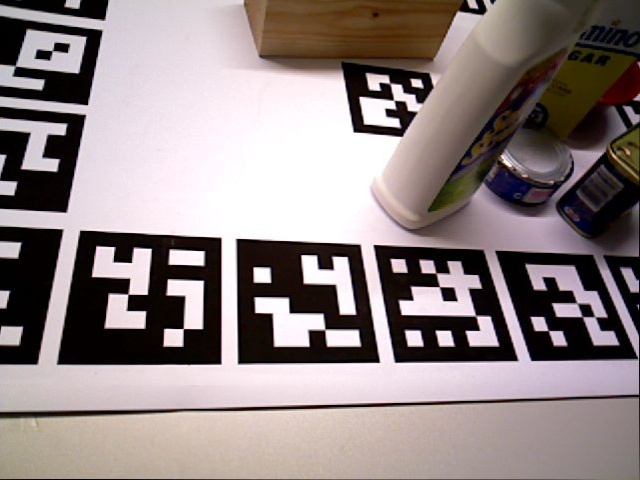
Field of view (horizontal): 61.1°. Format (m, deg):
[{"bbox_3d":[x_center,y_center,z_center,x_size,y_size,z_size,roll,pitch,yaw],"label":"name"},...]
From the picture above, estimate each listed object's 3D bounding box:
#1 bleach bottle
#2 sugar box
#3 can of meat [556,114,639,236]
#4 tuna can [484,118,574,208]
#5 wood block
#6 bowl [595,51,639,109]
[{"bbox_3d":[0.123,-0.116,0.390,0.100,0.257,0.067,-23,64,-28],"label":"bleach bottle"},{"bbox_3d":[0.221,-0.164,0.492,0.092,0.180,0.044,18,55,0],"label":"sugar box"},{"bbox_3d":[0.280,-0.060,0.505,0.099,0.086,0.057,-27,65,-31],"label":"can of meat"},{"bbox_3d":[0.190,-0.074,0.513,0.085,0.034,0.084,6,59,-11],"label":"tuna can"},{"bbox_3d":[0.022,-0.248,0.554,0.203,0.092,0.090,-6,63,-20],"label":"wood block"},{"bbox_3d":[0.272,-0.195,0.605,0.160,0.056,0.159,5,56,-8],"label":"bowl"}]
